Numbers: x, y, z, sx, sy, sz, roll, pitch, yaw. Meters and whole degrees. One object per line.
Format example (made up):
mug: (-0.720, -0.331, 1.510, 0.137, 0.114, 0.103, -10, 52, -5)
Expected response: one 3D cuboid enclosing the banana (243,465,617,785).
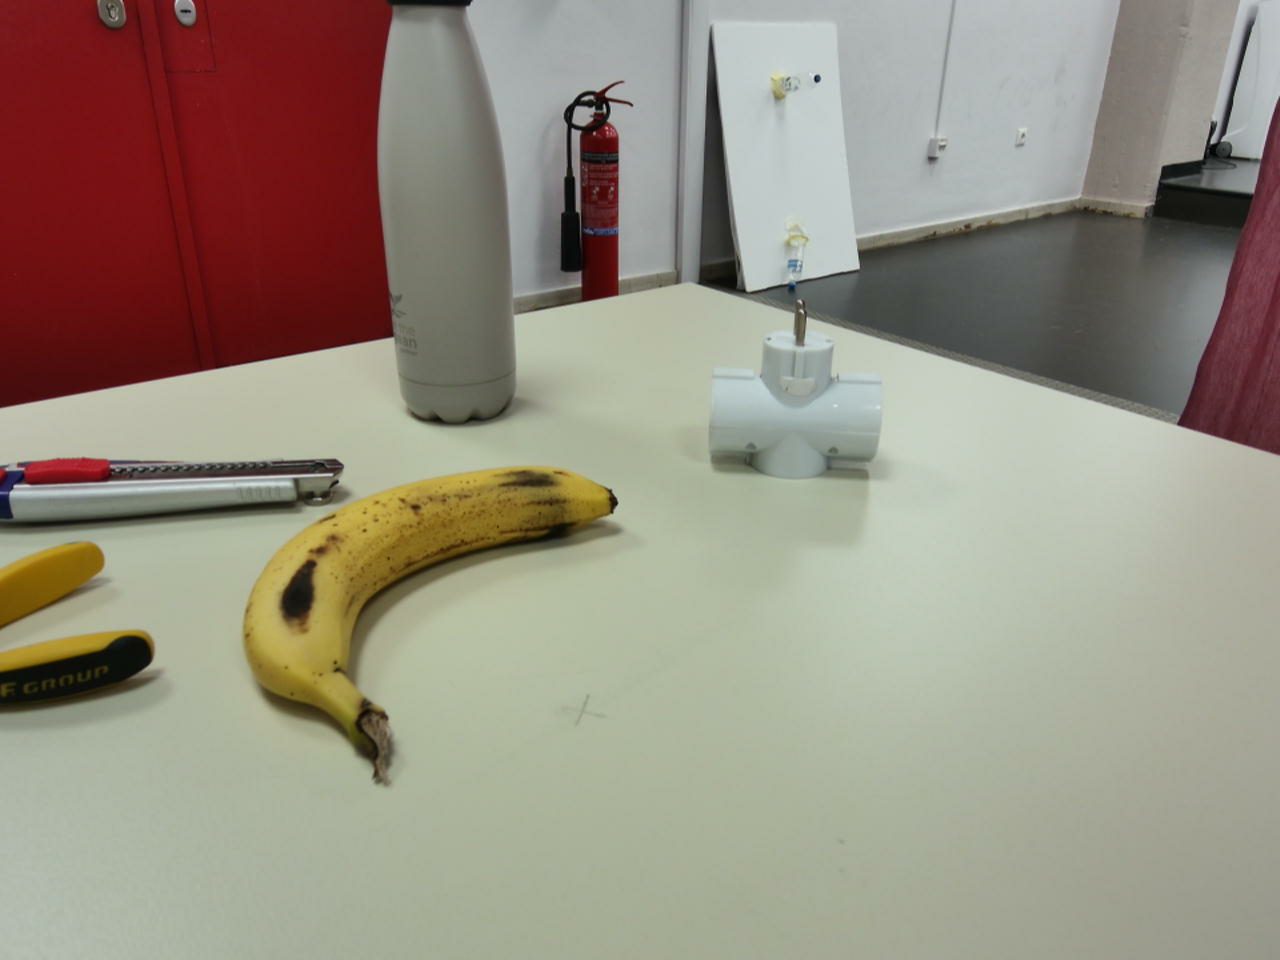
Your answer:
banana: (-0.089, 0.034, 0.407, 0.097, 0.038, 0.186, 10, 25, 21)
